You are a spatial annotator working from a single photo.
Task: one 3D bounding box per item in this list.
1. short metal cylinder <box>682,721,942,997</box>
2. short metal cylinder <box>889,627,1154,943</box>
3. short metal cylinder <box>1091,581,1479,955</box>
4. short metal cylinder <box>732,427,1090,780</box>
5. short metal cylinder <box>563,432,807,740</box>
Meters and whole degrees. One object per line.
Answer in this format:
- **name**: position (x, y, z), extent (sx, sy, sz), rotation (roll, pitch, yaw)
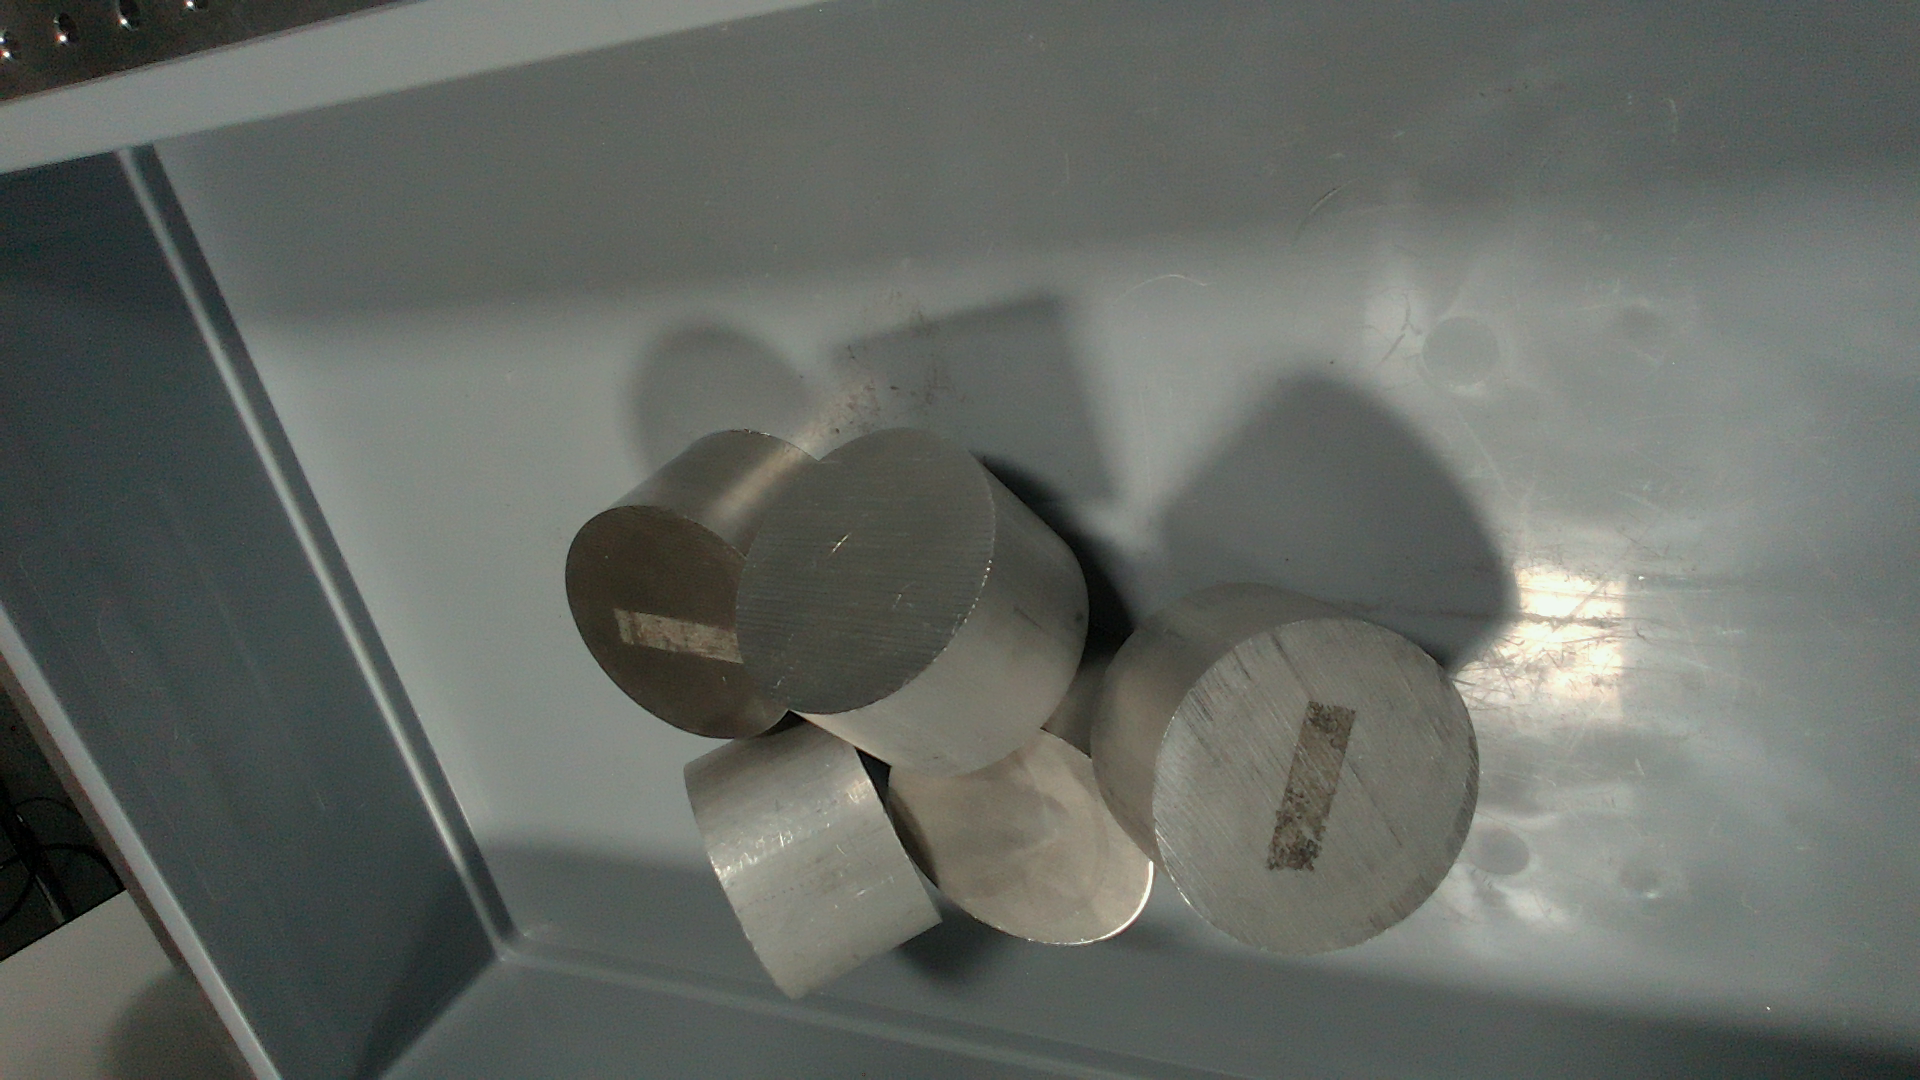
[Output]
- **short metal cylinder**: position (-0.046, 0.094, 0.430), extent (0.050, 0.080, 0.080), rotation (-27, 109, -6)
- **short metal cylinder**: position (0.026, 0.070, 0.405), extent (0.080, 0.050, 0.080), rotation (13, 124, 21)
- **short metal cylinder**: position (0.078, 0.054, 0.340), extent (0.080, 0.050, 0.080), rotation (-2, 98, -11)
- **short metal cylinder**: position (-0.013, 0.017, 0.364), extent (0.080, 0.080, 0.050), rotation (-8, 150, 32)
- **short metal cylinder**: position (-0.073, 0.014, 0.422), extent (0.080, 0.050, 0.080), rotation (13, 124, 21)
